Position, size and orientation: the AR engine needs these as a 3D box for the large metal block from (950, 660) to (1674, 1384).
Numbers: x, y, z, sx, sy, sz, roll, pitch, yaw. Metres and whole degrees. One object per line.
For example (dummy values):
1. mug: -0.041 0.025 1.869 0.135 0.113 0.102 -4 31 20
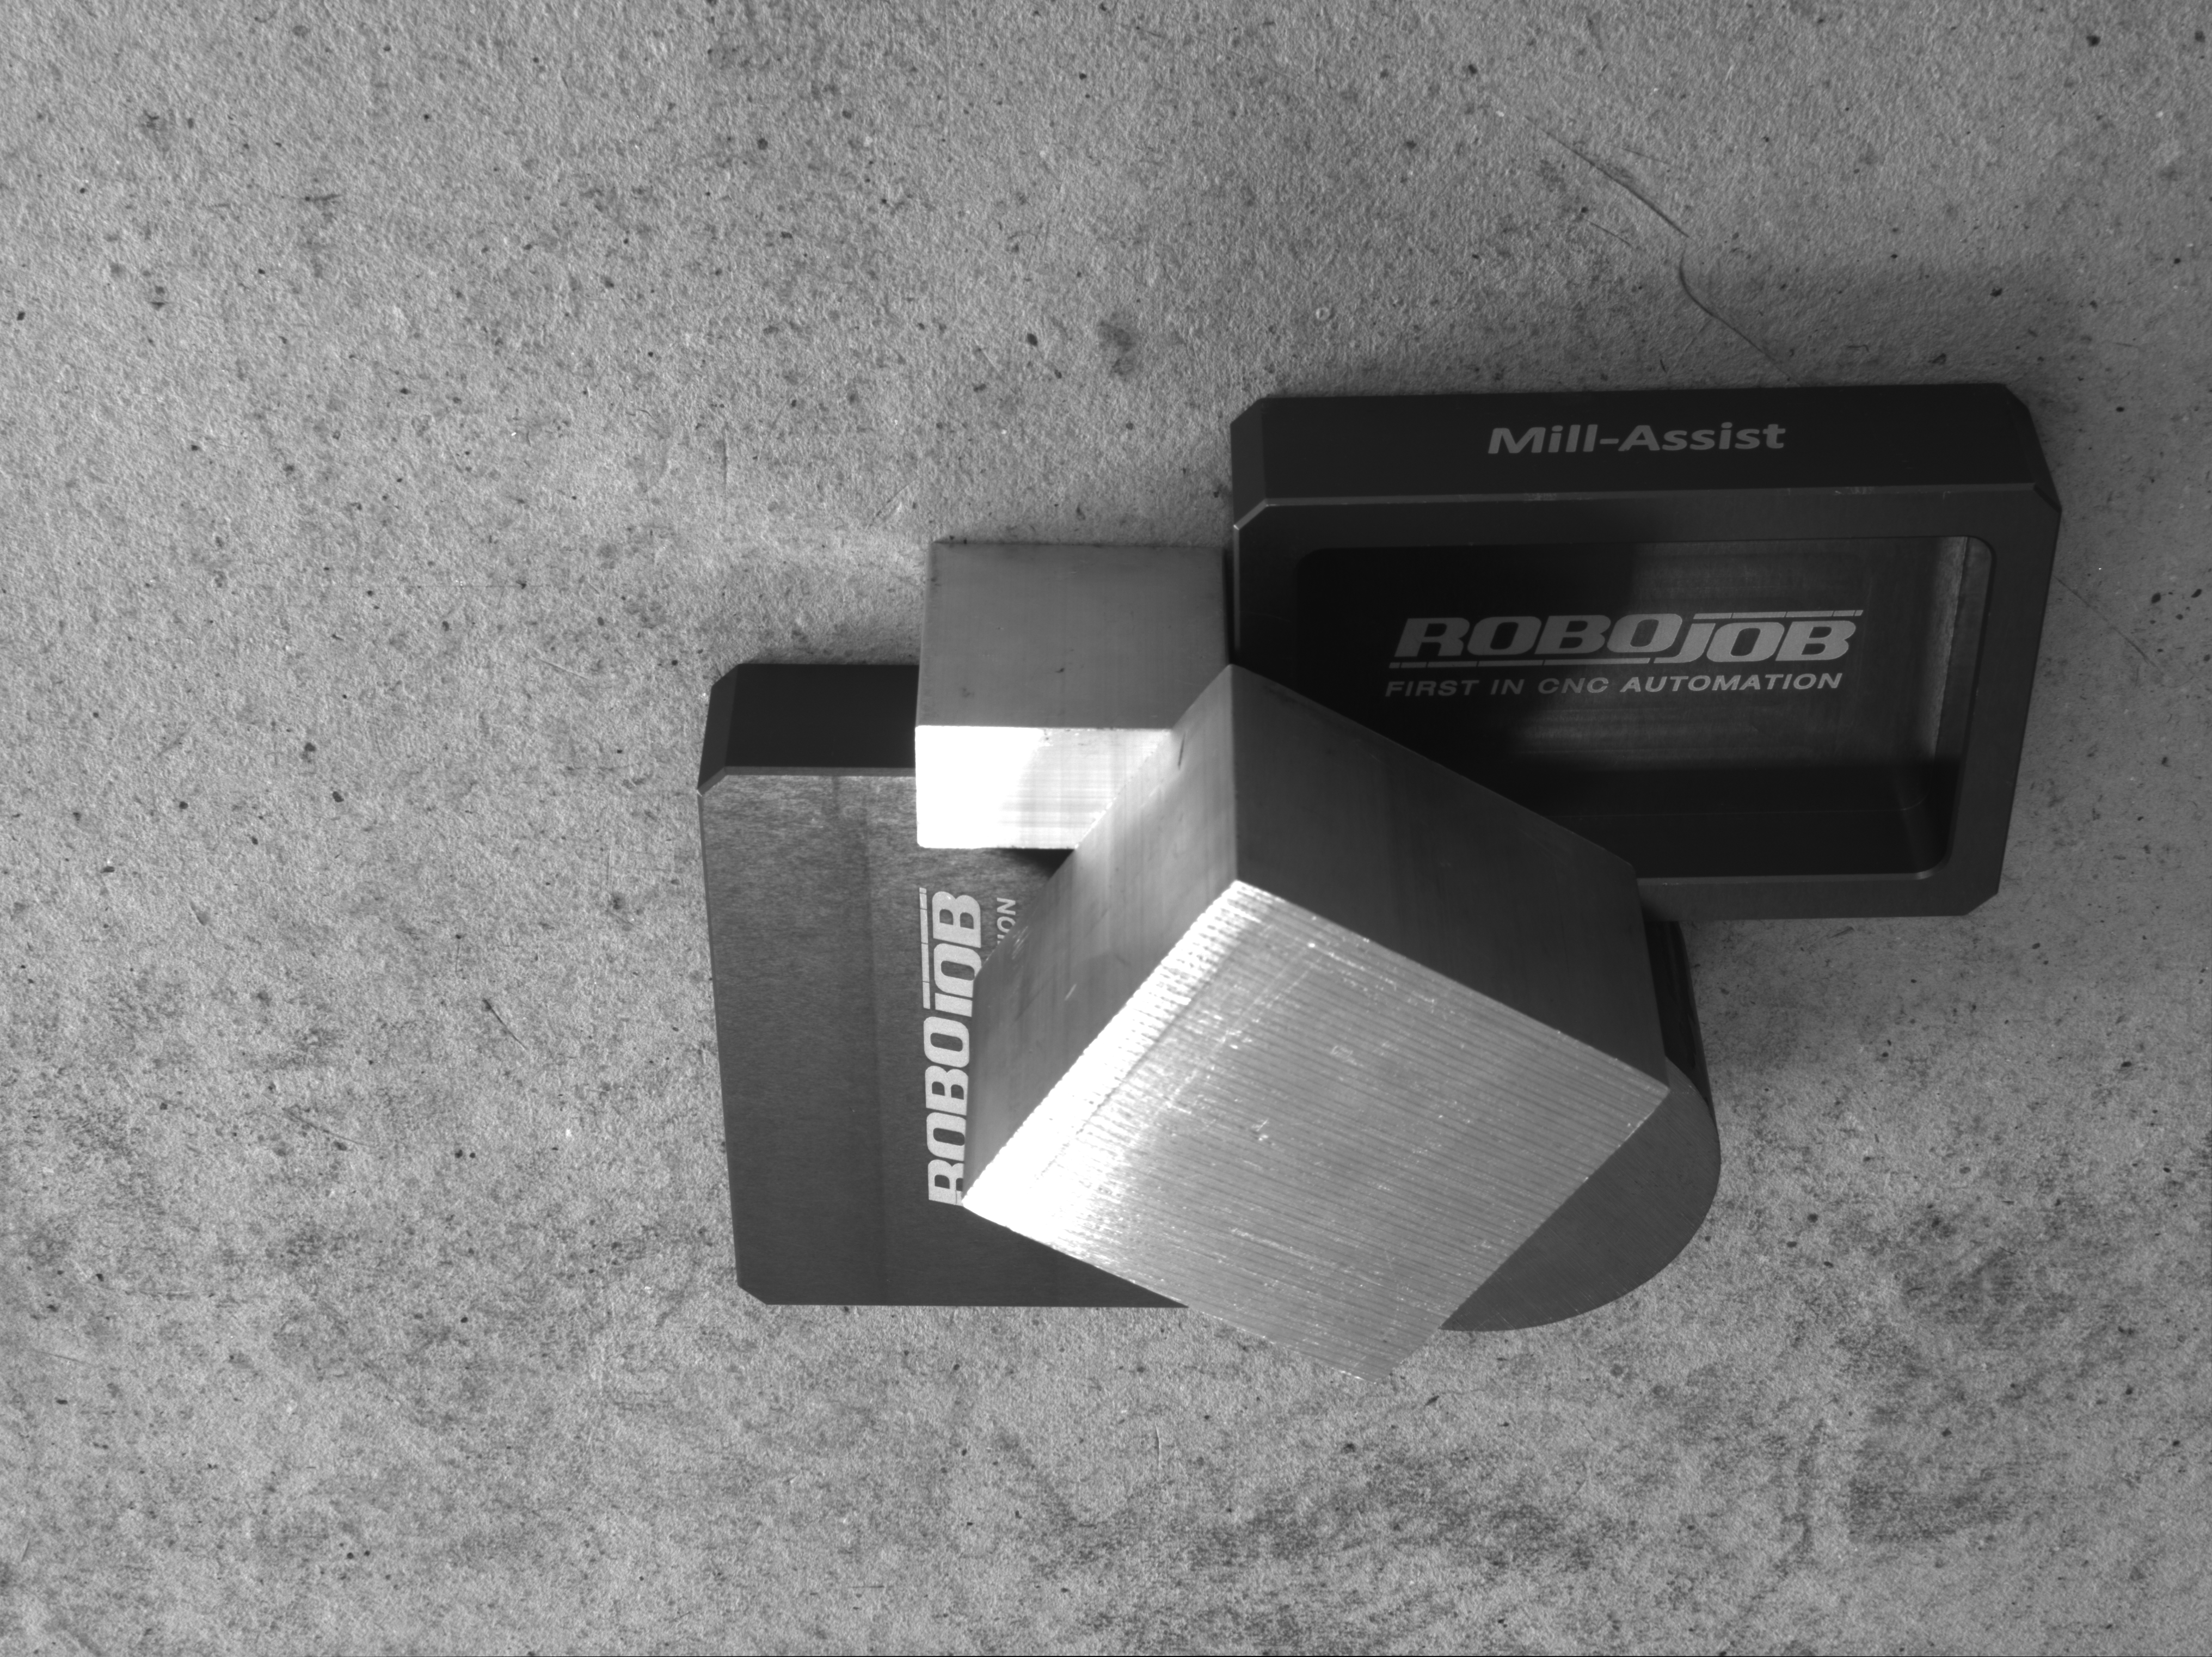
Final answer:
1. large metal block: 0.031 0.032 0.584 0.080 0.050 0.080 26 125 -20

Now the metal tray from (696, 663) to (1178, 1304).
1. metal tray: -0.024 0.031 0.663 0.090 0.030 0.130 1 130 0

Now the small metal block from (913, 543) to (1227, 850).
1. small metal block: -0.005 -0.022 0.605 0.050 0.050 0.025 1 130 0

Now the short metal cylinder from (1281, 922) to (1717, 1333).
1. short metal cylinder: 0.067 0.045 0.661 0.080 0.050 0.080 0 130 1

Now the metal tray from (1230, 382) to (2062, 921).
1. metal tray: 0.086 -0.027 0.614 0.130 0.030 0.090 -1 130 1
